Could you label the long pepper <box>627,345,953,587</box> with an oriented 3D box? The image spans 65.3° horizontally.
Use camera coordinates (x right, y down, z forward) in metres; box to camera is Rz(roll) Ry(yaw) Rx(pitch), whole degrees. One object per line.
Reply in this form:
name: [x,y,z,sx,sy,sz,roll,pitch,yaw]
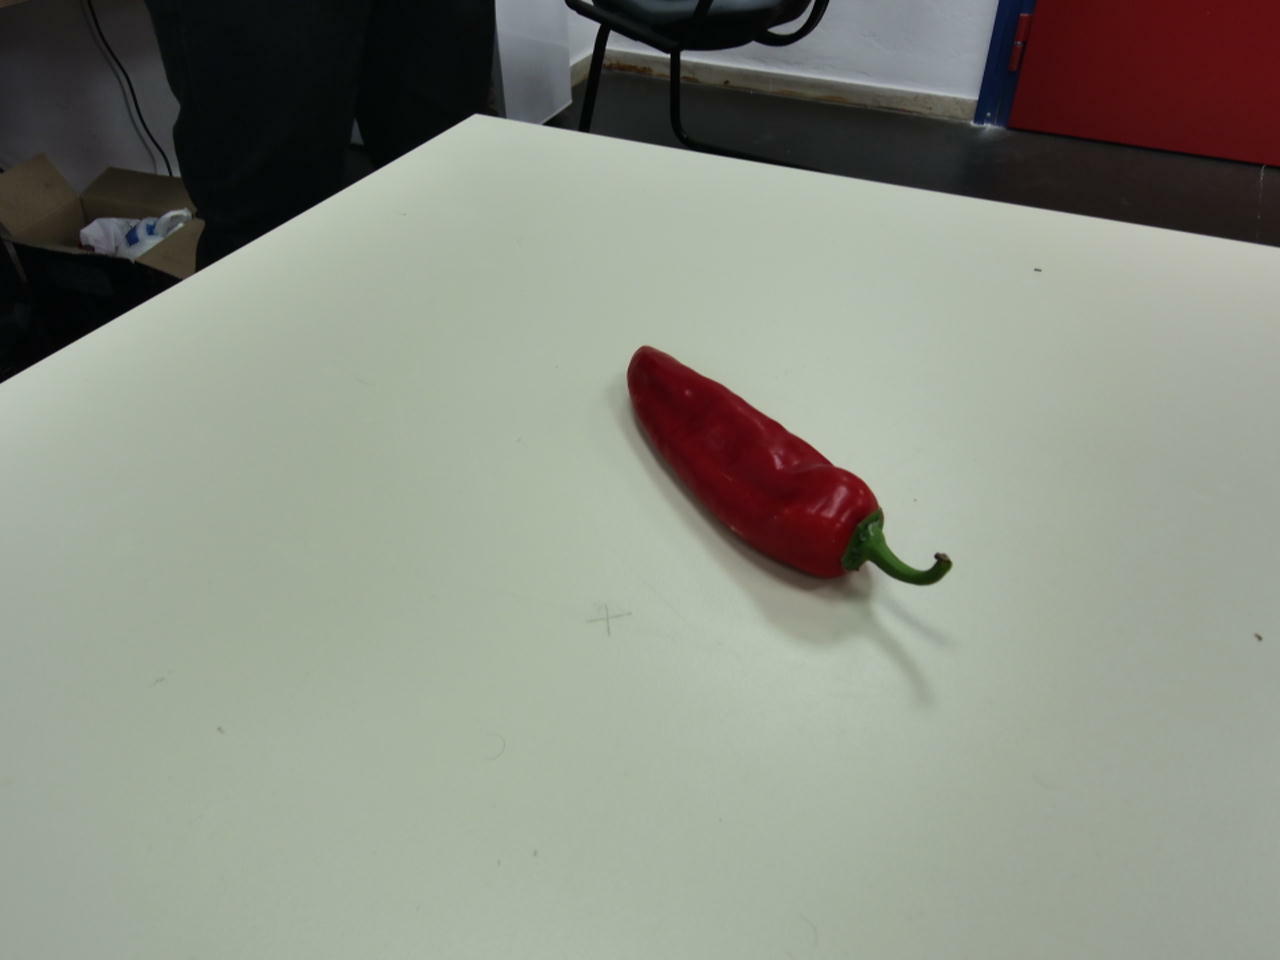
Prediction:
long pepper: [0.047,-0.009,0.432,0.050,0.043,0.211,-20,41,-24]
